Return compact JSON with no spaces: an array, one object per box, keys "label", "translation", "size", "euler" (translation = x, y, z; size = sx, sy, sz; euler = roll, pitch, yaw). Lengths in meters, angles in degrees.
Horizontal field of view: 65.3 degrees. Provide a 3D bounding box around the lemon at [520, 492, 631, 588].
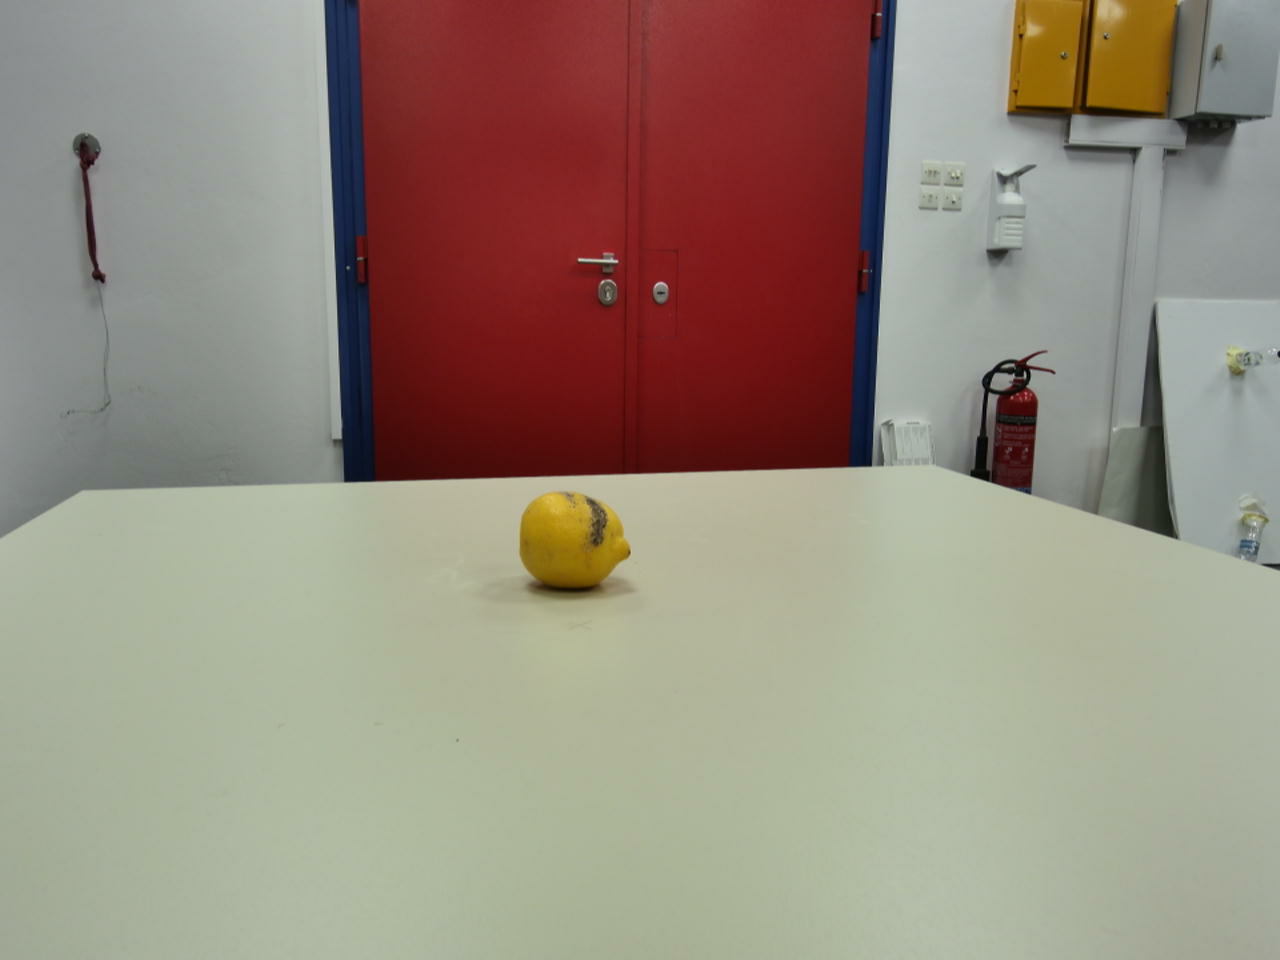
[{"label":"lemon","translation":[-0.041,0.035,0.586],"size":[0.061,0.056,0.058],"euler":[-3,8,-20]}]
